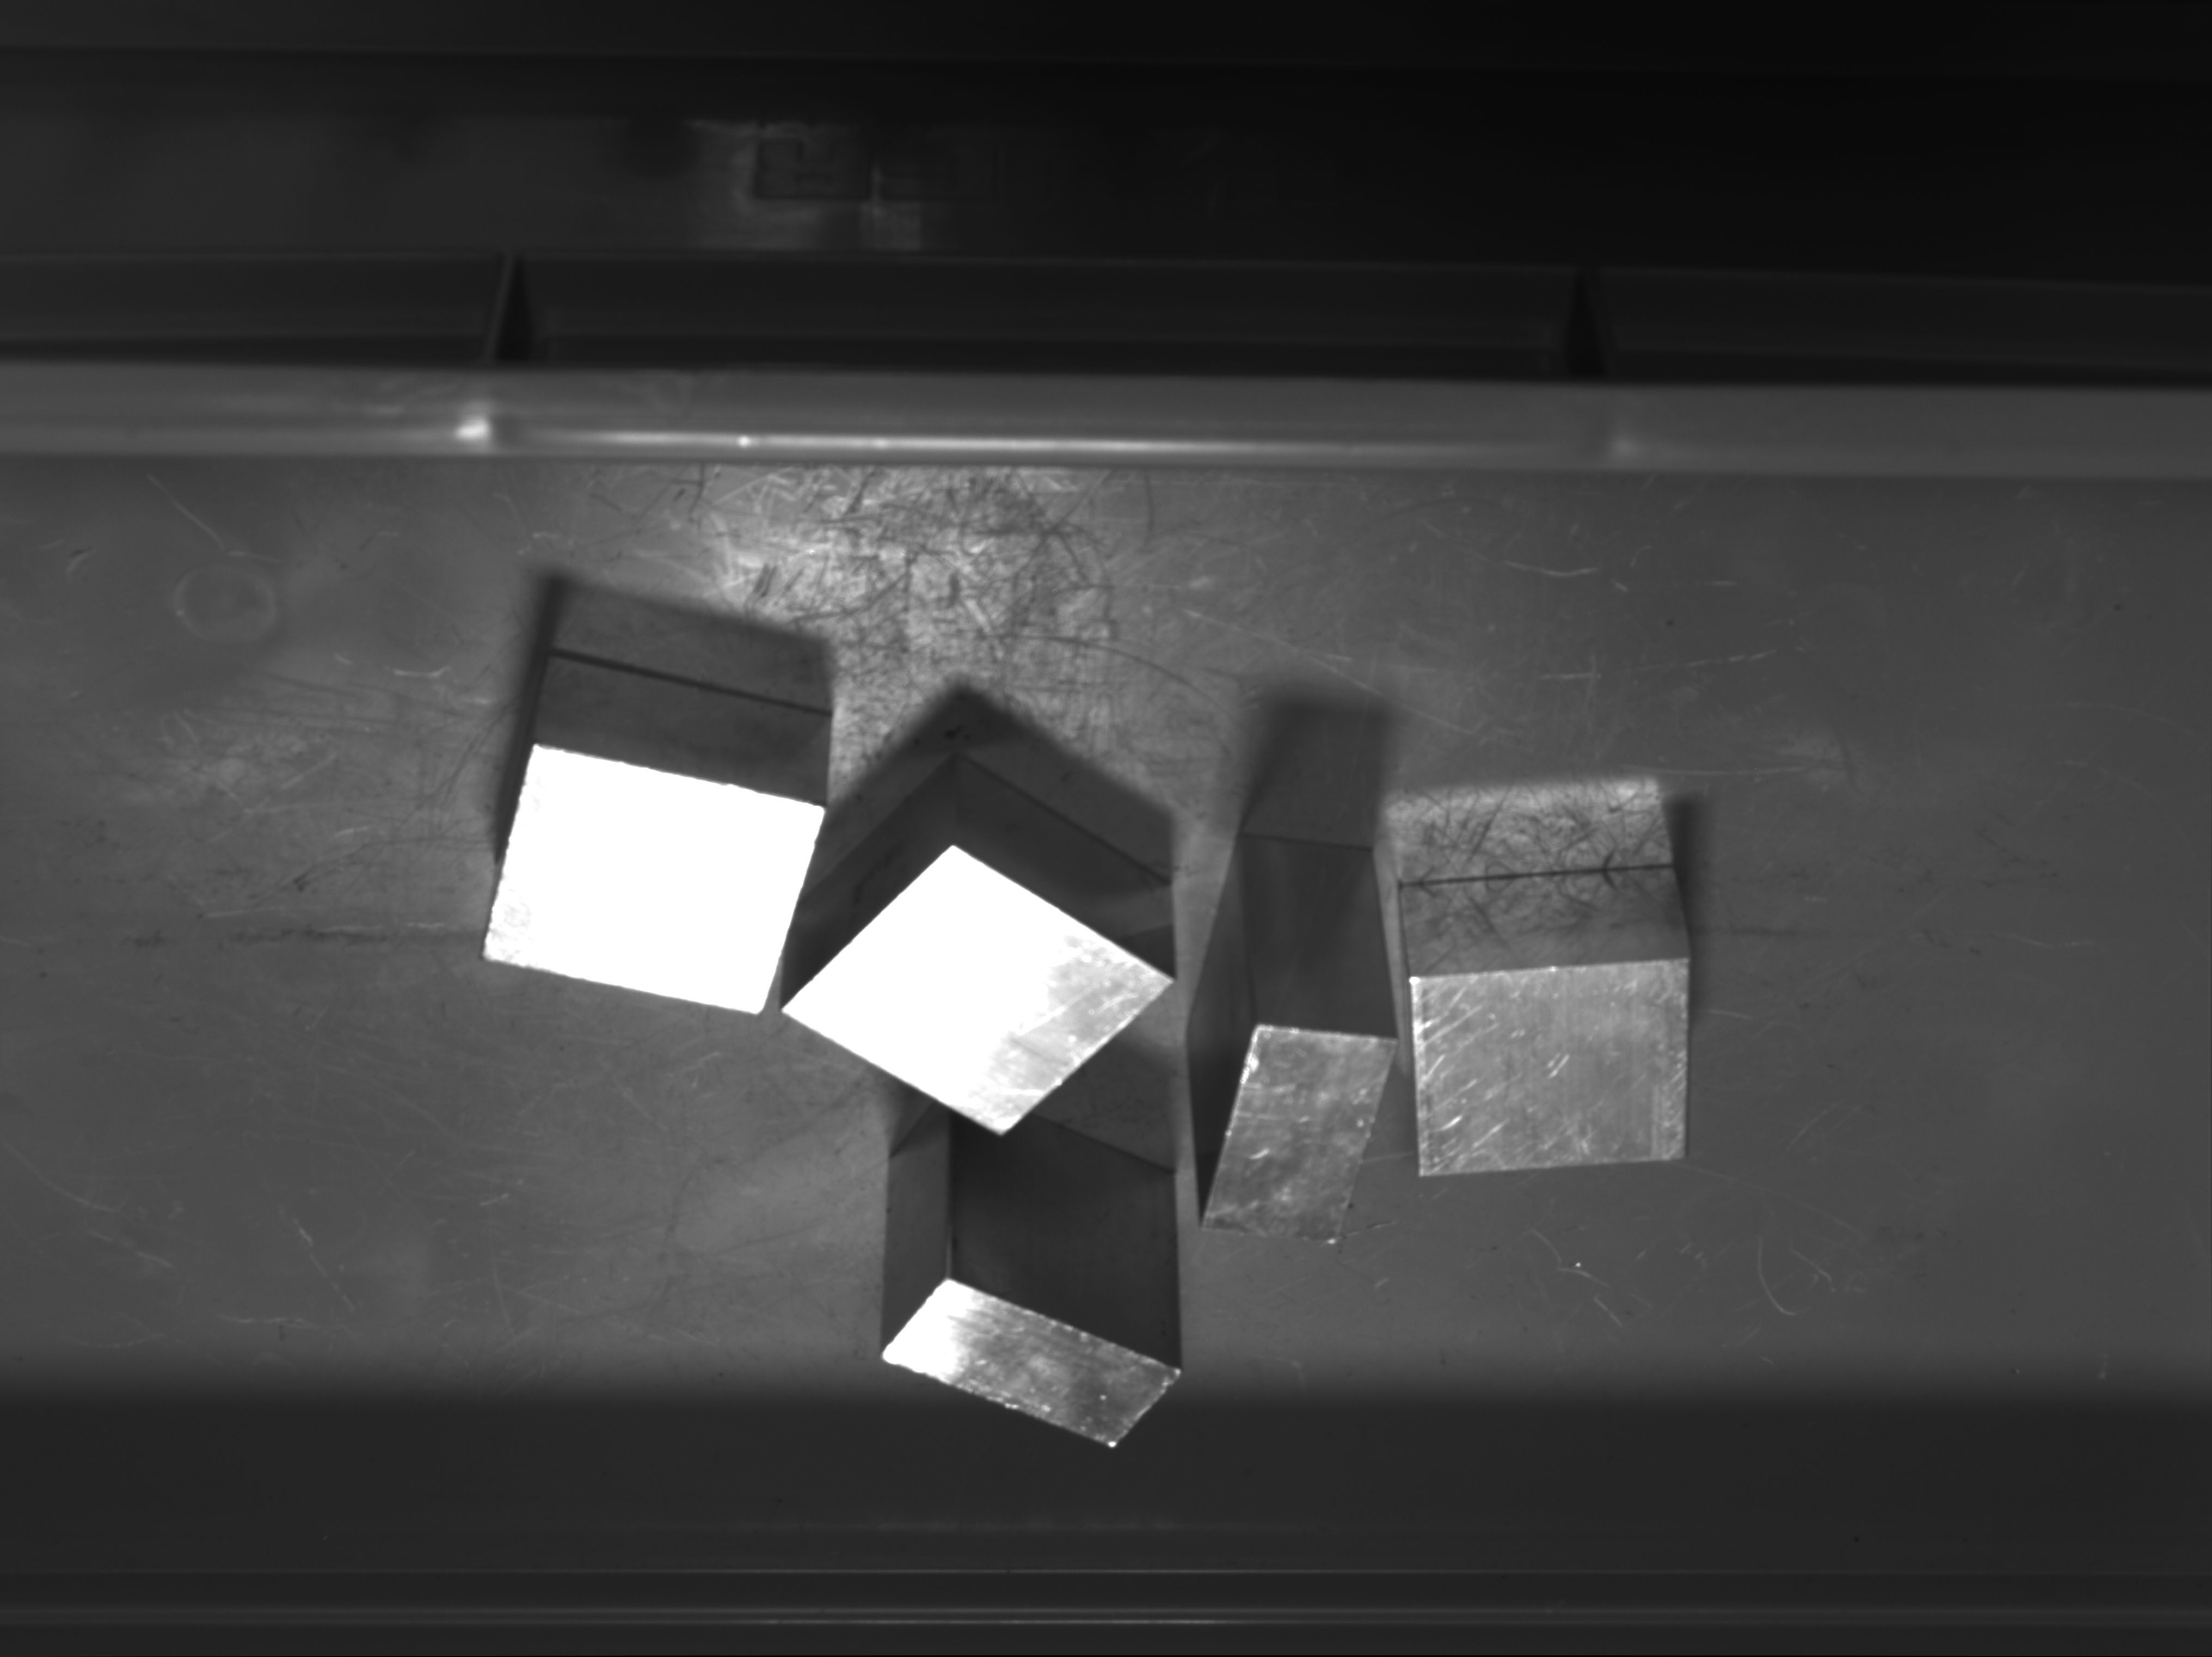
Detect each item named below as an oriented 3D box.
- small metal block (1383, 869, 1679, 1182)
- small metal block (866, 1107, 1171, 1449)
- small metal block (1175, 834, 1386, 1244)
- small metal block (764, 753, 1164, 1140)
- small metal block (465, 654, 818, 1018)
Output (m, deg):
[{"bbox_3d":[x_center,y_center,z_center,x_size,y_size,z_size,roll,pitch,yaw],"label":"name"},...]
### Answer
[{"bbox_3d":[0.077,0.036,0.669,0.050,0.025,0.050,-4,130,2],"label":"small metal block"},{"bbox_3d":[-0.016,0.082,0.688,0.050,0.050,0.025,24,126,-21],"label":"small metal block"},{"bbox_3d":[0.030,0.037,0.653,0.025,0.050,0.050,7,129,-8],"label":"small metal block"},{"bbox_3d":[-0.025,0.022,0.653,0.050,0.025,0.050,32,122,-25],"label":"small metal block"},{"bbox_3d":[-0.081,0.002,0.635,0.050,0.025,0.050,12,129,-11],"label":"small metal block"}]
